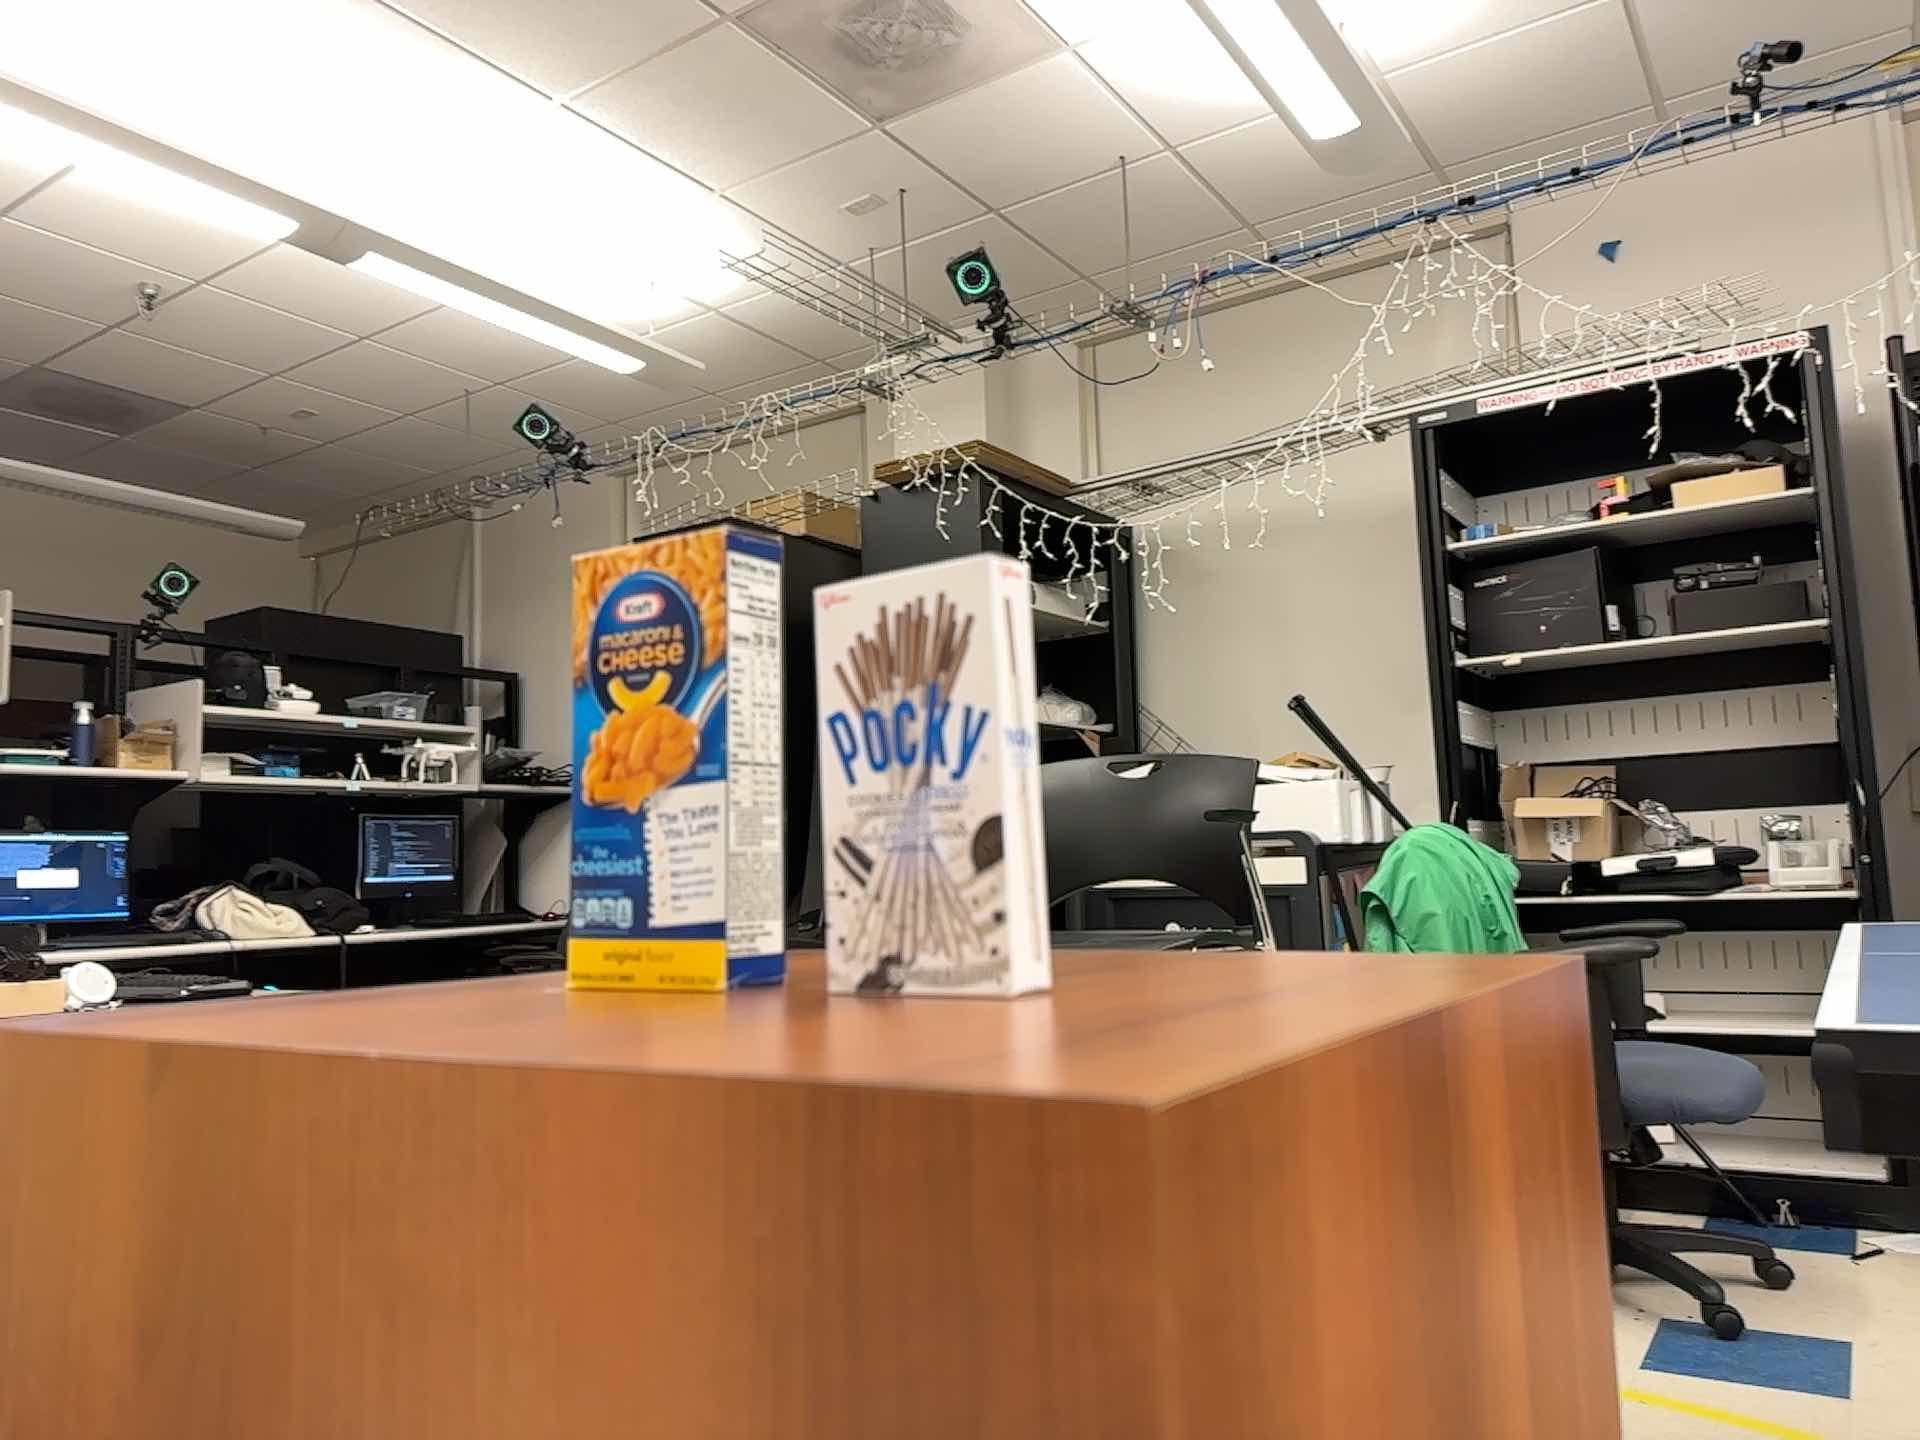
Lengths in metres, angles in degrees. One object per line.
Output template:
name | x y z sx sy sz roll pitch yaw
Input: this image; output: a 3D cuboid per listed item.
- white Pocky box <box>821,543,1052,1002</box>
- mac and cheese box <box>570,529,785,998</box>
white Pocky box | -0.011 0.021 0.478 0.084 0.154 0.028 -9 -10 39
mac and cheese box | -0.117 0.021 0.559 0.088 0.181 0.035 -9 -12 36
